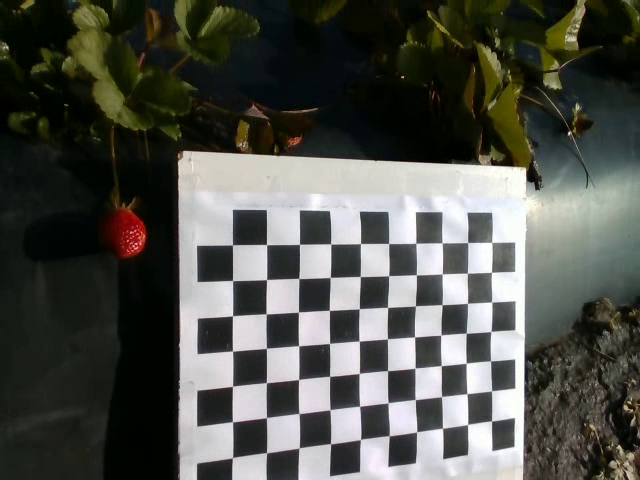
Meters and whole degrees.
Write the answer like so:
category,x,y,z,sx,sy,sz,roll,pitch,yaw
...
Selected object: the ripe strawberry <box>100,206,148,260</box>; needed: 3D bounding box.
category,x,y,z,sx,sy,sz,roll,pitch,yaw
ripe strawberry,-0.108,0.000,0.359,0.034,0.033,0.038,-2,39,-24
